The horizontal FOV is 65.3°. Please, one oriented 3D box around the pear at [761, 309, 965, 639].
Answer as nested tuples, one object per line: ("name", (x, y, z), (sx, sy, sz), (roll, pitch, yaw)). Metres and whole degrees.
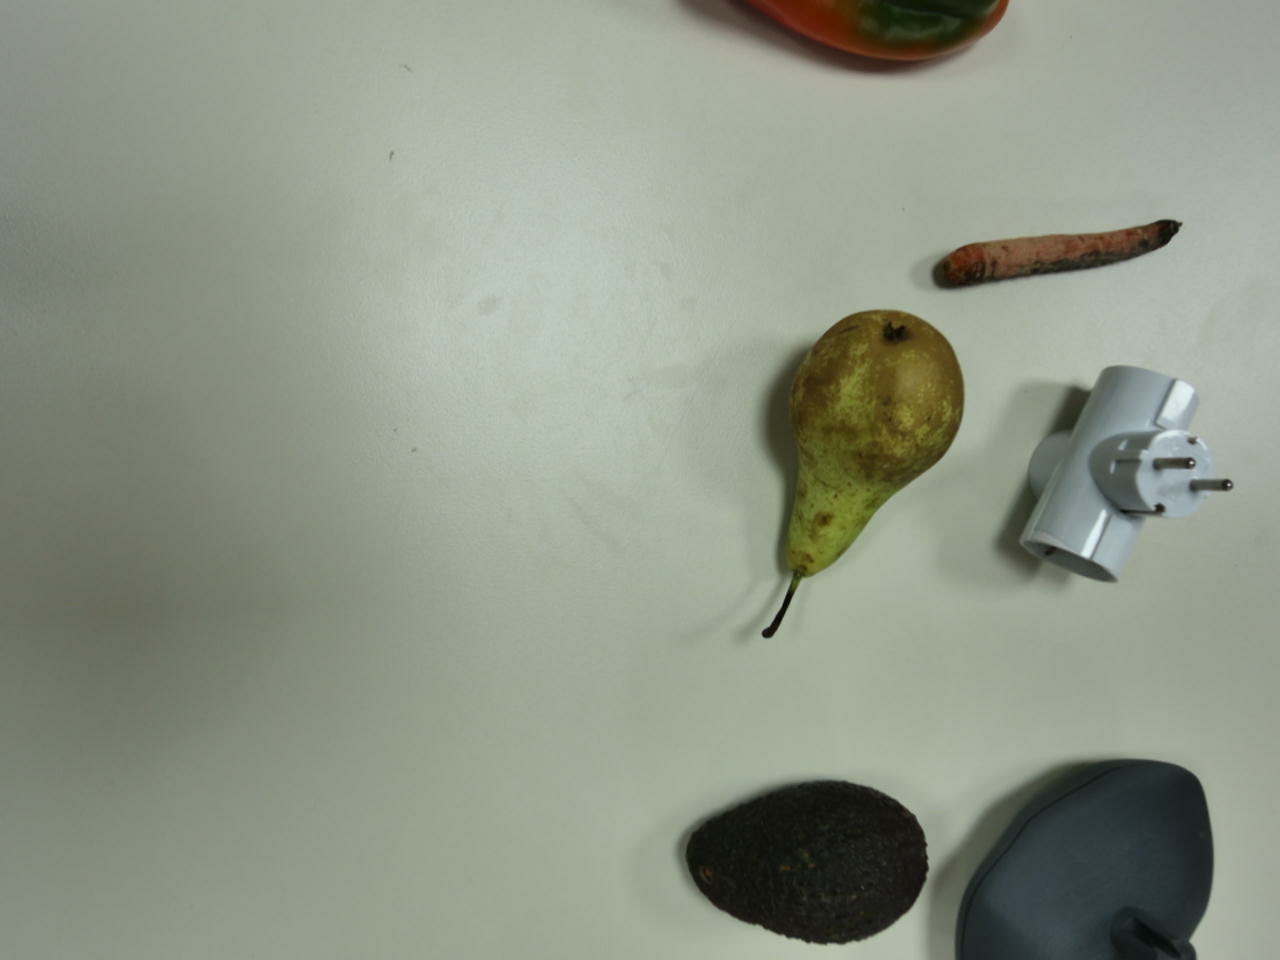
("pear", (0.096, 0.000, 0.423), (0.071, 0.075, 0.144), (7, 89, -12))
